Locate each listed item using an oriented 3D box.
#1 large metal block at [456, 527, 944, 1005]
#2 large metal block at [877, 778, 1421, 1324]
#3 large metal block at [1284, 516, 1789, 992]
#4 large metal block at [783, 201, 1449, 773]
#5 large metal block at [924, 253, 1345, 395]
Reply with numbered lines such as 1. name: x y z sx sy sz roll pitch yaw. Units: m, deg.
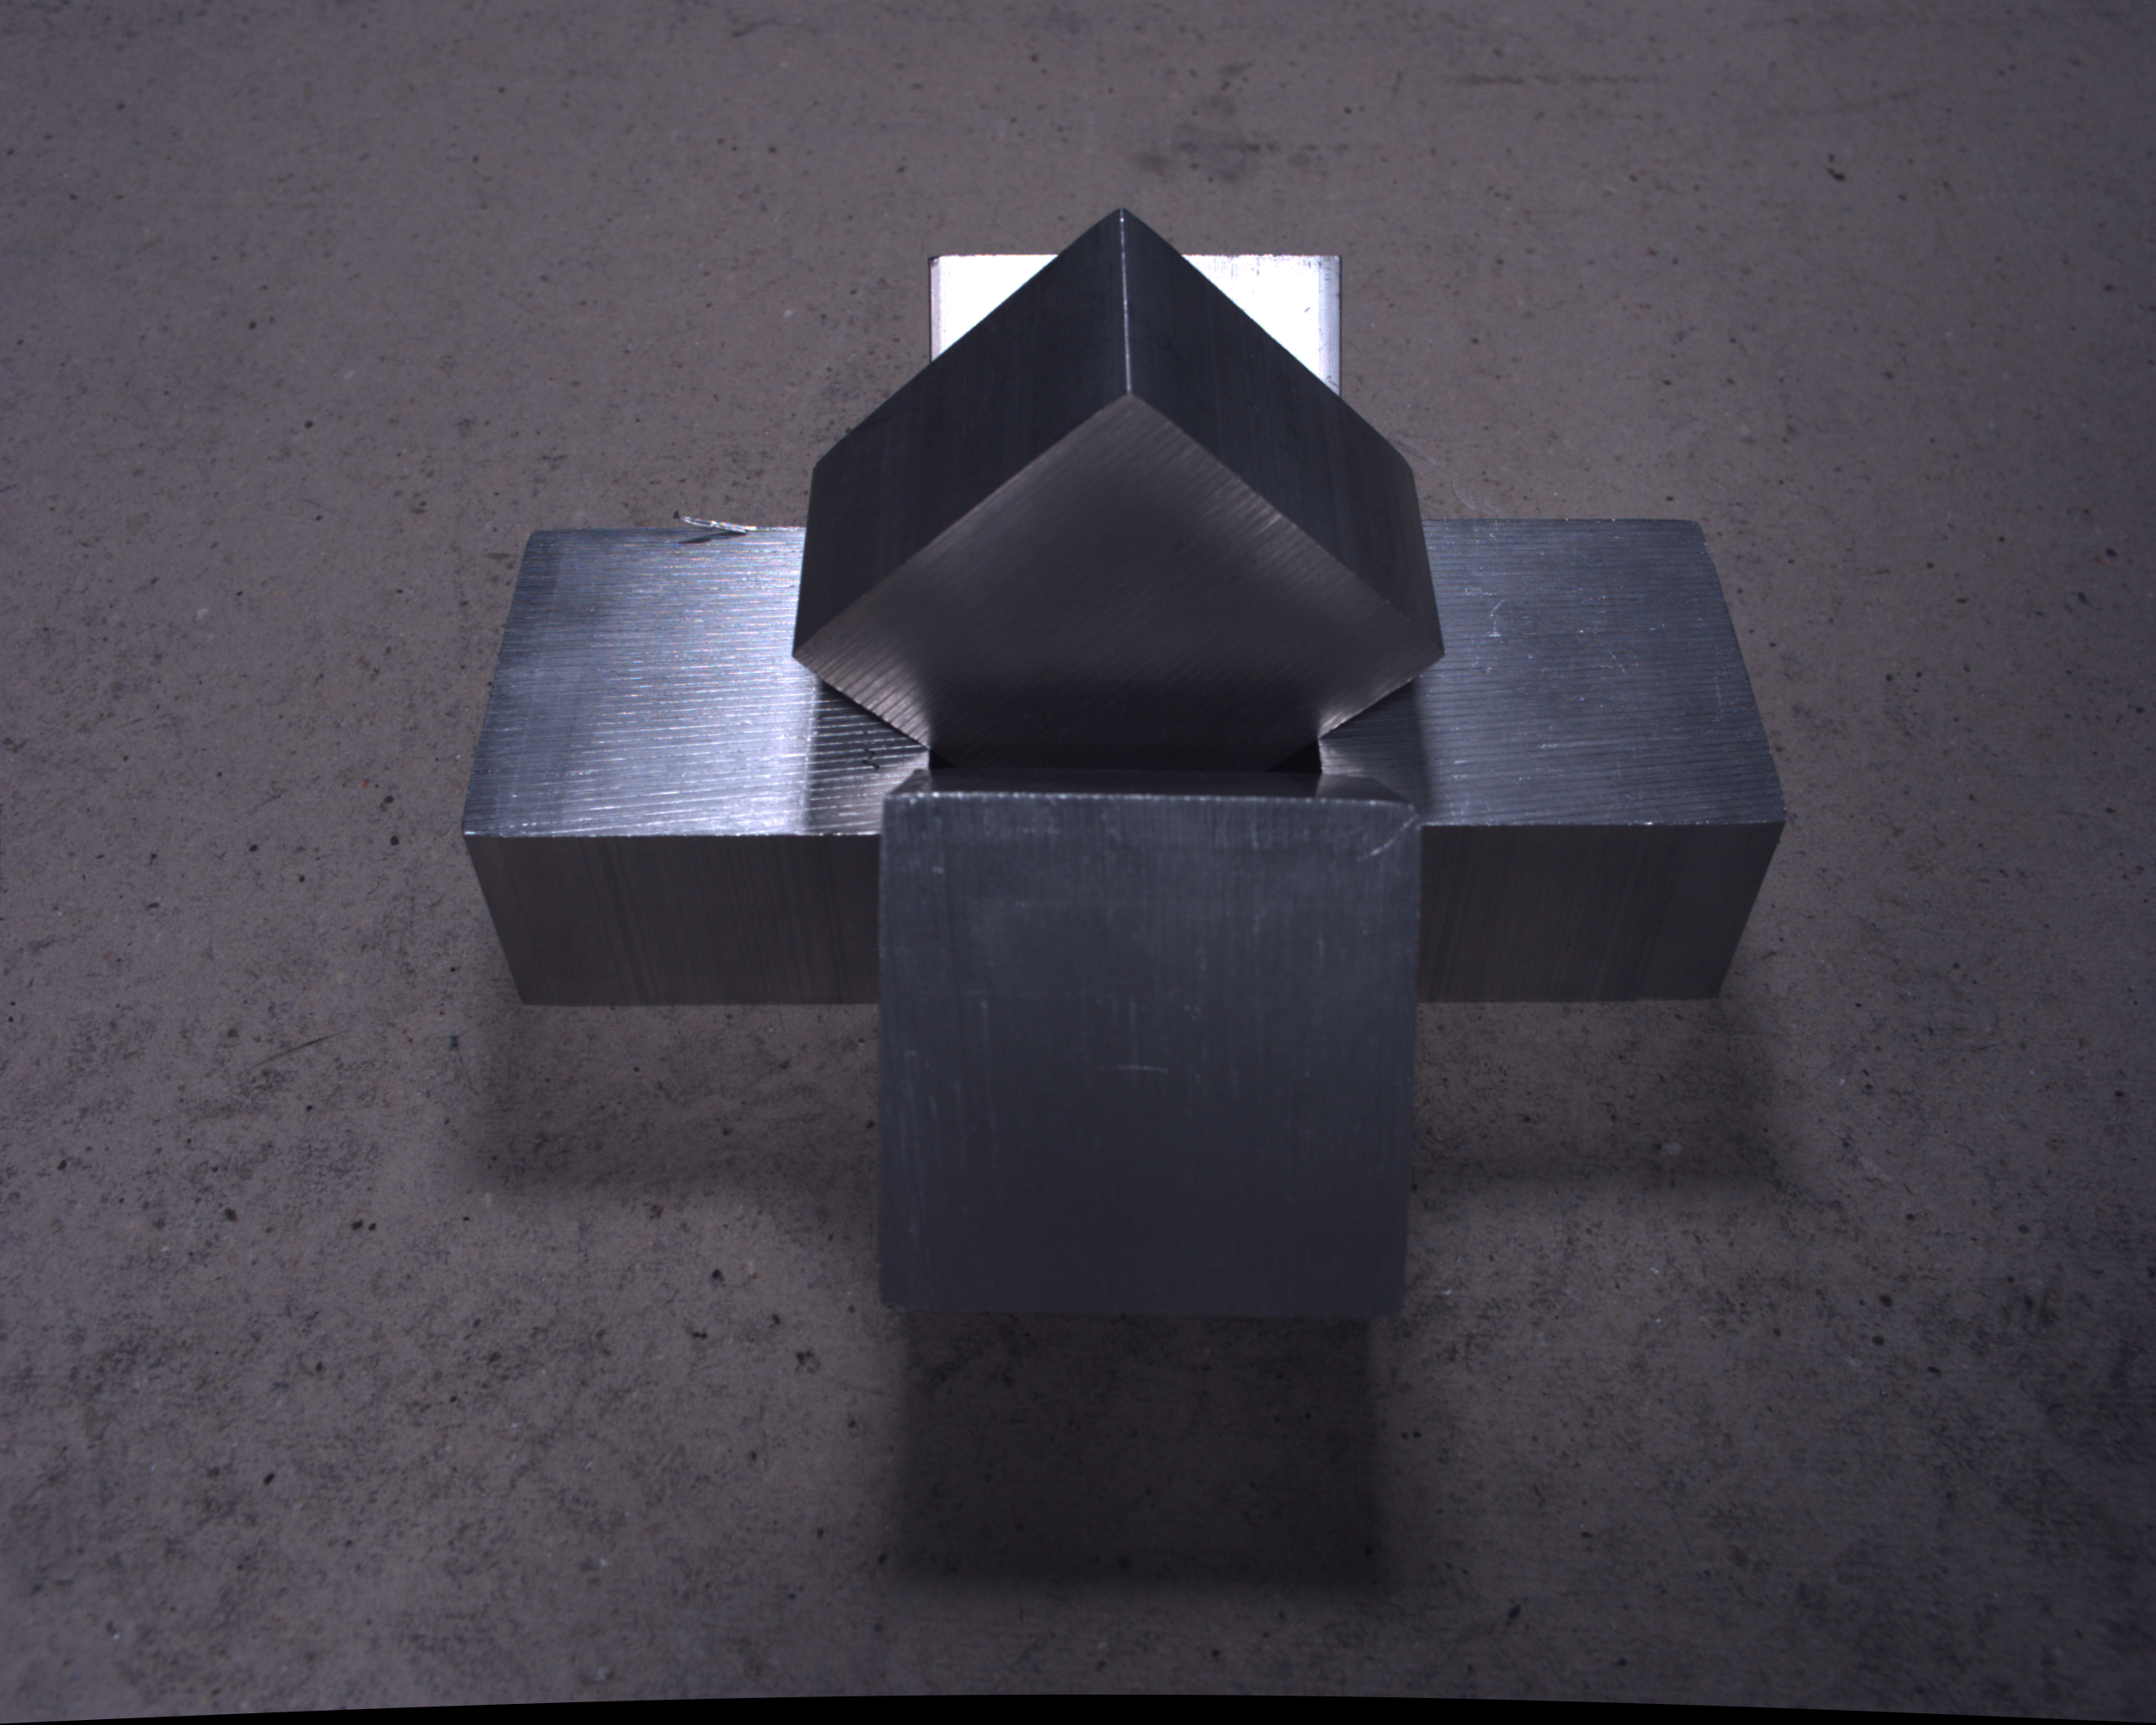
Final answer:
1. large metal block: -0.067 -0.020 0.404 0.081 0.050 0.080 0 50 -1
2. large metal block: 0.011 0.027 0.338 0.081 0.079 0.050 0 7 1
3. large metal block: 0.082 -0.022 0.404 0.081 0.050 0.080 0 50 0
4. large metal block: 0.006 -0.054 0.372 0.080 0.080 0.050 -32 41 32
5. large metal block: 0.011 -0.095 0.441 0.081 0.080 0.050 0 94 0
